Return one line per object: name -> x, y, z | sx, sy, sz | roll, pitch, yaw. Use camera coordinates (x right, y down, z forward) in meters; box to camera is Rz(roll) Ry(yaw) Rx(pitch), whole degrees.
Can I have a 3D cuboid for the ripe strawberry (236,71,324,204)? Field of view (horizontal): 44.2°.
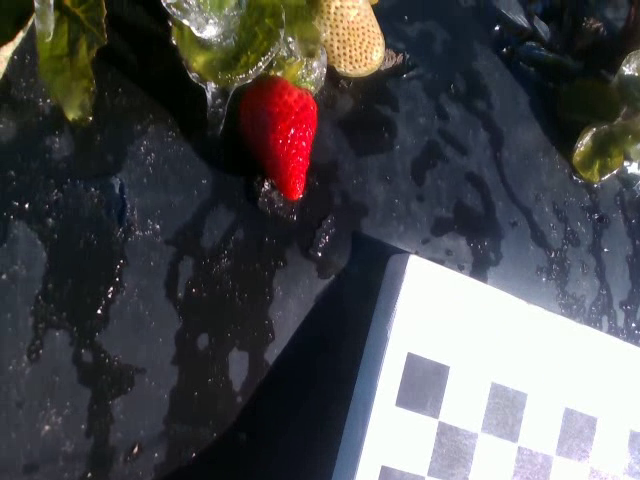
ripe strawberry -> -0.007, -0.041, 0.324 | 0.041, 0.052, 0.040 | 3, -12, -30
